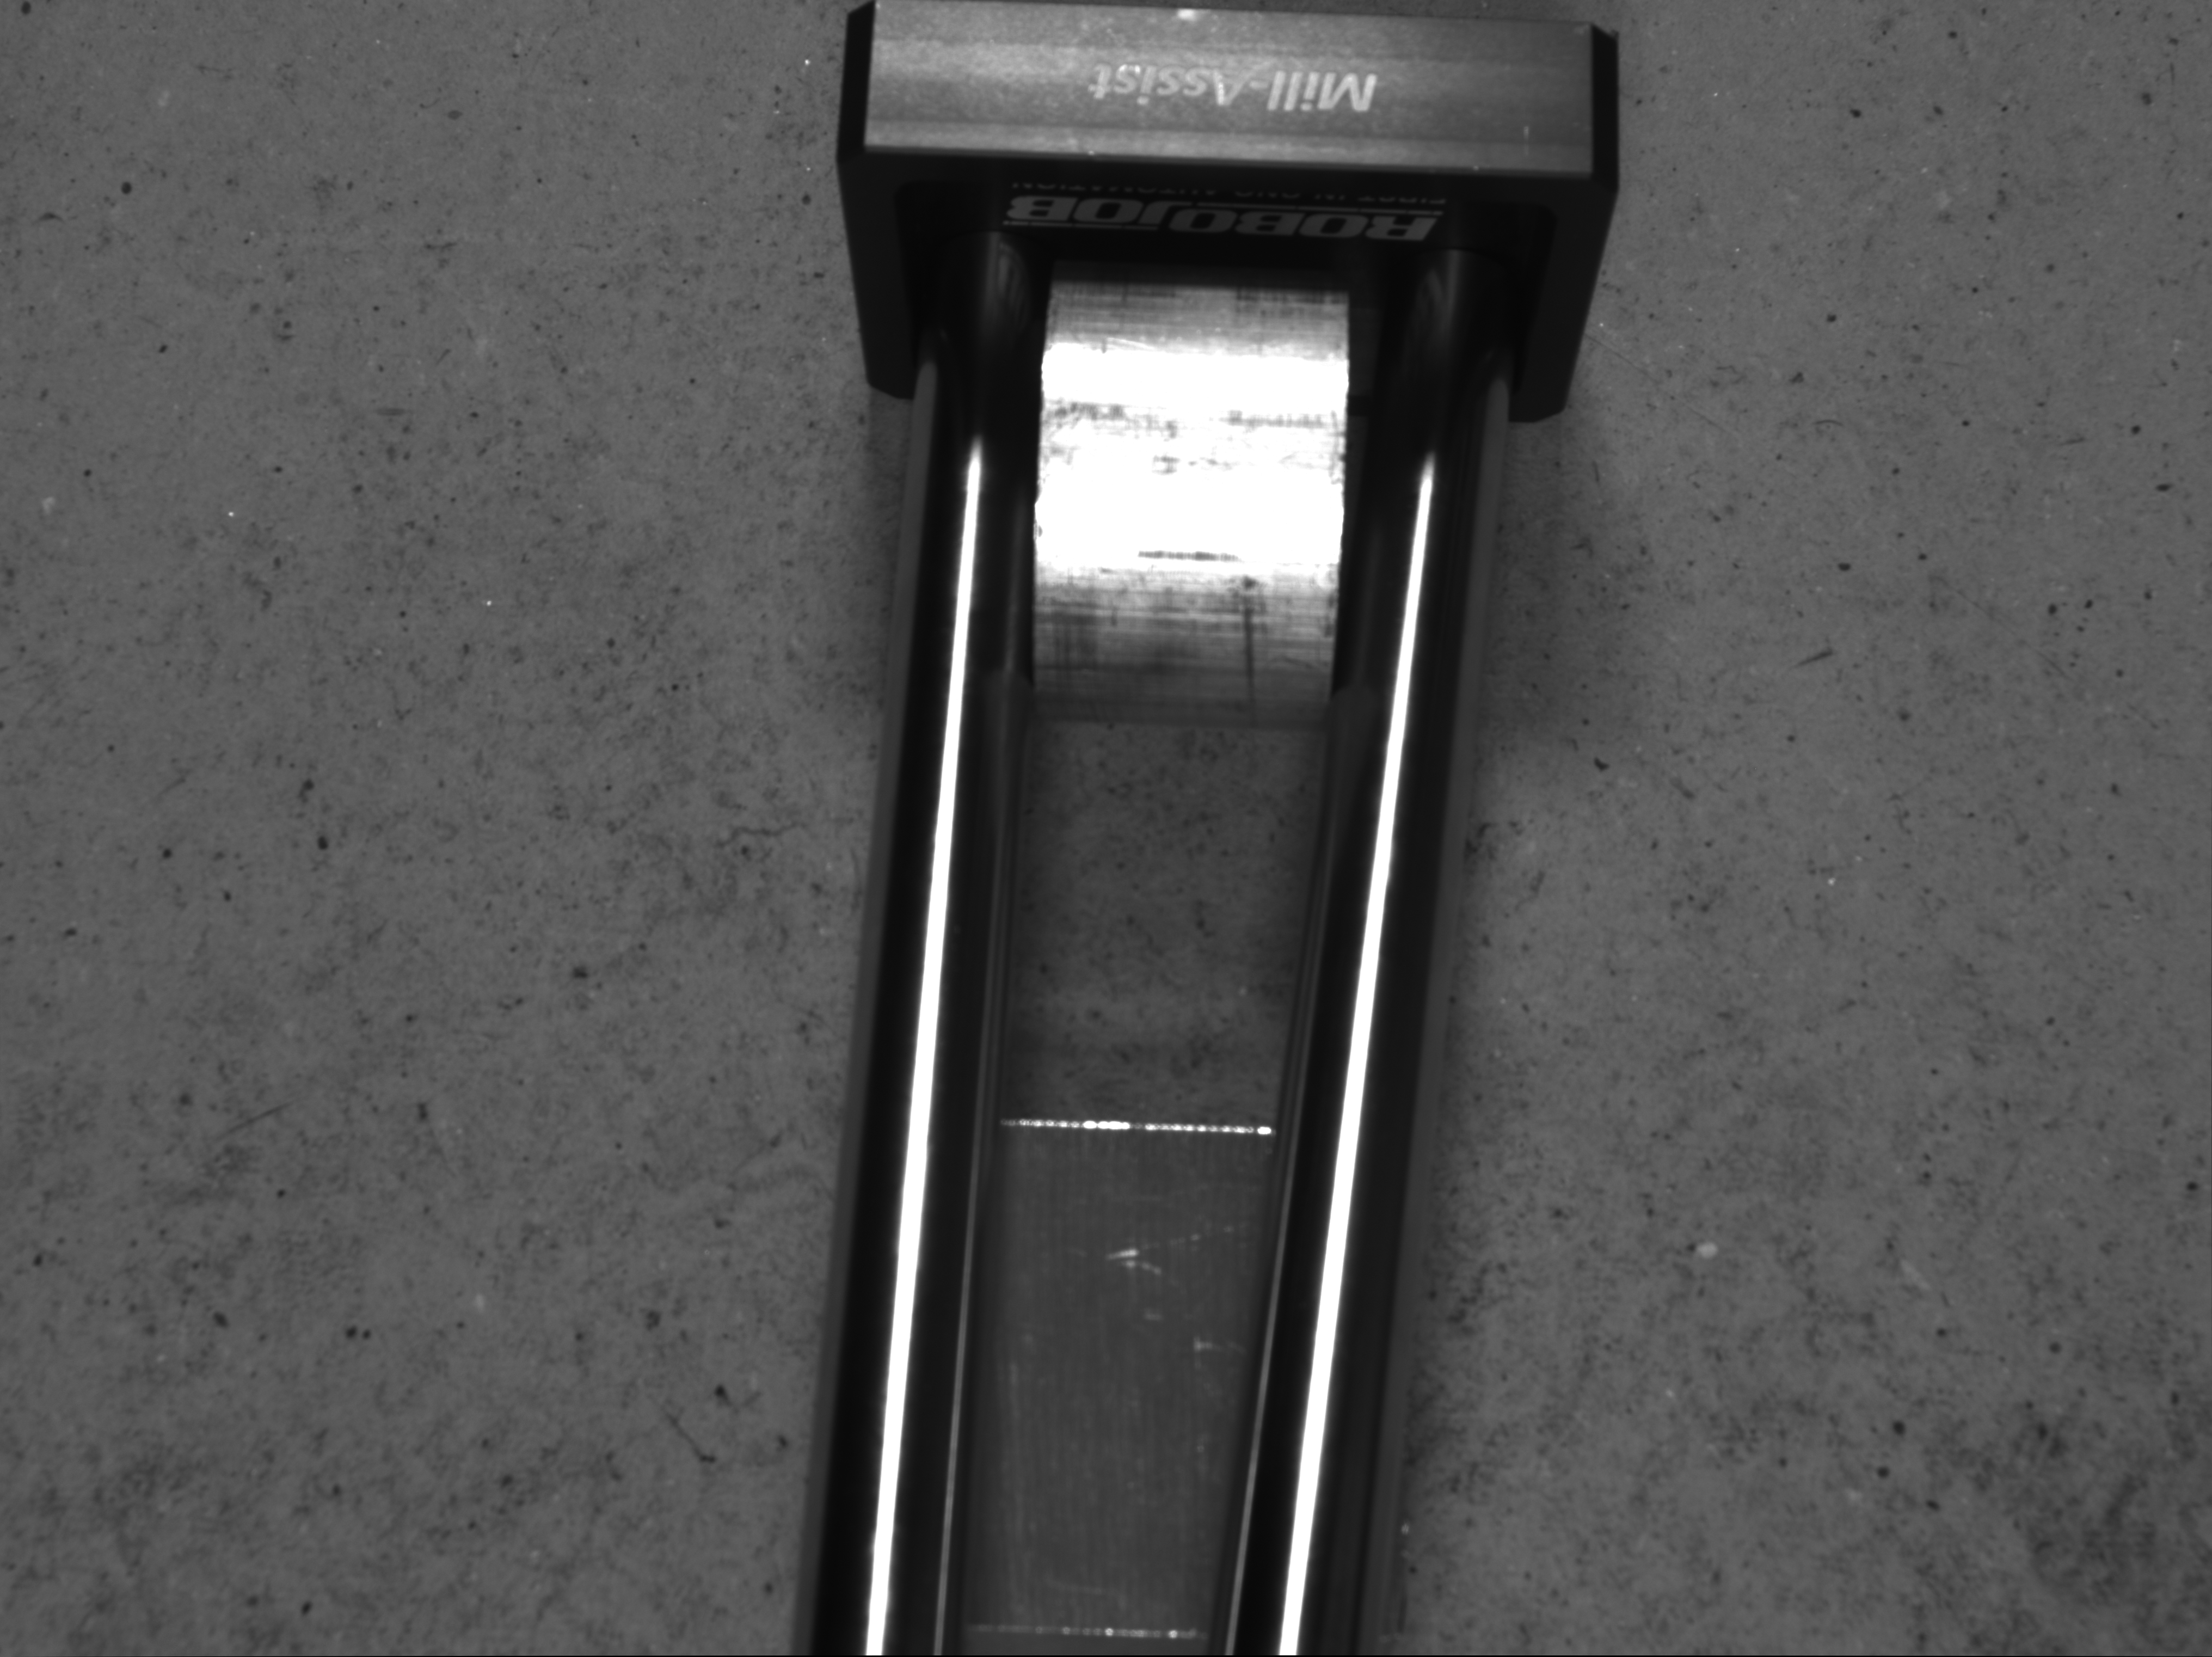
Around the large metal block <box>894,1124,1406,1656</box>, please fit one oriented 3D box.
[{"bbox_3d":[0.007,0.094,0.595,0.080,0.050,0.080,2,70,1],"label":"large metal block"}]

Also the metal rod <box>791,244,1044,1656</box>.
[{"bbox_3d":[-0.028,0.023,0.588,0.025,0.025,0.300,2,55,1],"label":"metal rod"}]

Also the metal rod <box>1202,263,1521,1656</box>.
[{"bbox_3d":[0.043,0.026,0.586,0.025,0.025,0.300,8,55,3],"label":"metal rod"}]

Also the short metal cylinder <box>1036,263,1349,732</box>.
[{"bbox_3d":[0.015,-0.057,0.637,0.050,0.080,0.080,2,70,0],"label":"short metal cylinder"}]

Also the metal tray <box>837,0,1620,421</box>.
[{"bbox_3d":[0.021,-0.108,0.650,0.130,0.090,0.030,2,70,1],"label":"metal tray"}]
